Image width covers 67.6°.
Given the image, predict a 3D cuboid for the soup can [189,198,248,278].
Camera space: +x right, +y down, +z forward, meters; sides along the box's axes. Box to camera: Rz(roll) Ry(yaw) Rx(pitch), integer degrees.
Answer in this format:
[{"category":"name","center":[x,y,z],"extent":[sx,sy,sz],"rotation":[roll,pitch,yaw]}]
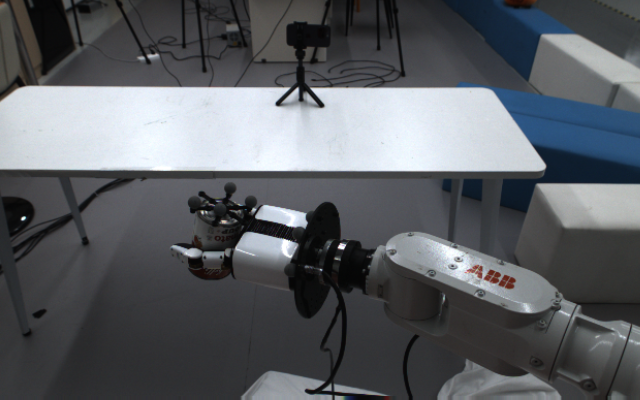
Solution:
[{"category":"soup can","center":[-0.151,0.057,0.697],"extent":[0.067,0.101,0.067],"rotation":[13,31,-8]}]
